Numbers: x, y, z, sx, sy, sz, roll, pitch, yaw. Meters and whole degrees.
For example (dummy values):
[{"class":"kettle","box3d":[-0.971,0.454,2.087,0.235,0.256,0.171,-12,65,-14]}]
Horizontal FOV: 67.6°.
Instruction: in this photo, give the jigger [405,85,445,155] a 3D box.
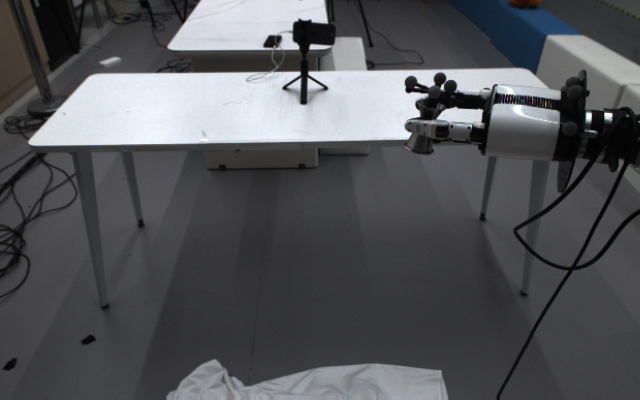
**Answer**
[{"class":"jigger","box3d":[0.149,-0.105,0.693,0.043,0.071,0.043,9,30,-6]}]
